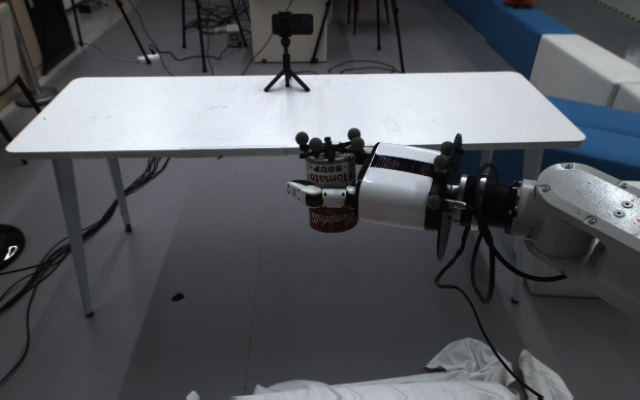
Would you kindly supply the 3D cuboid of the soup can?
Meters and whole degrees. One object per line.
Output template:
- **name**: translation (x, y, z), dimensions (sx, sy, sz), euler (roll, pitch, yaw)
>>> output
- **soup can**: translation (0.017, -0.016, 0.647), dimensions (0.067, 0.101, 0.067), euler (-4, 25, 2)
